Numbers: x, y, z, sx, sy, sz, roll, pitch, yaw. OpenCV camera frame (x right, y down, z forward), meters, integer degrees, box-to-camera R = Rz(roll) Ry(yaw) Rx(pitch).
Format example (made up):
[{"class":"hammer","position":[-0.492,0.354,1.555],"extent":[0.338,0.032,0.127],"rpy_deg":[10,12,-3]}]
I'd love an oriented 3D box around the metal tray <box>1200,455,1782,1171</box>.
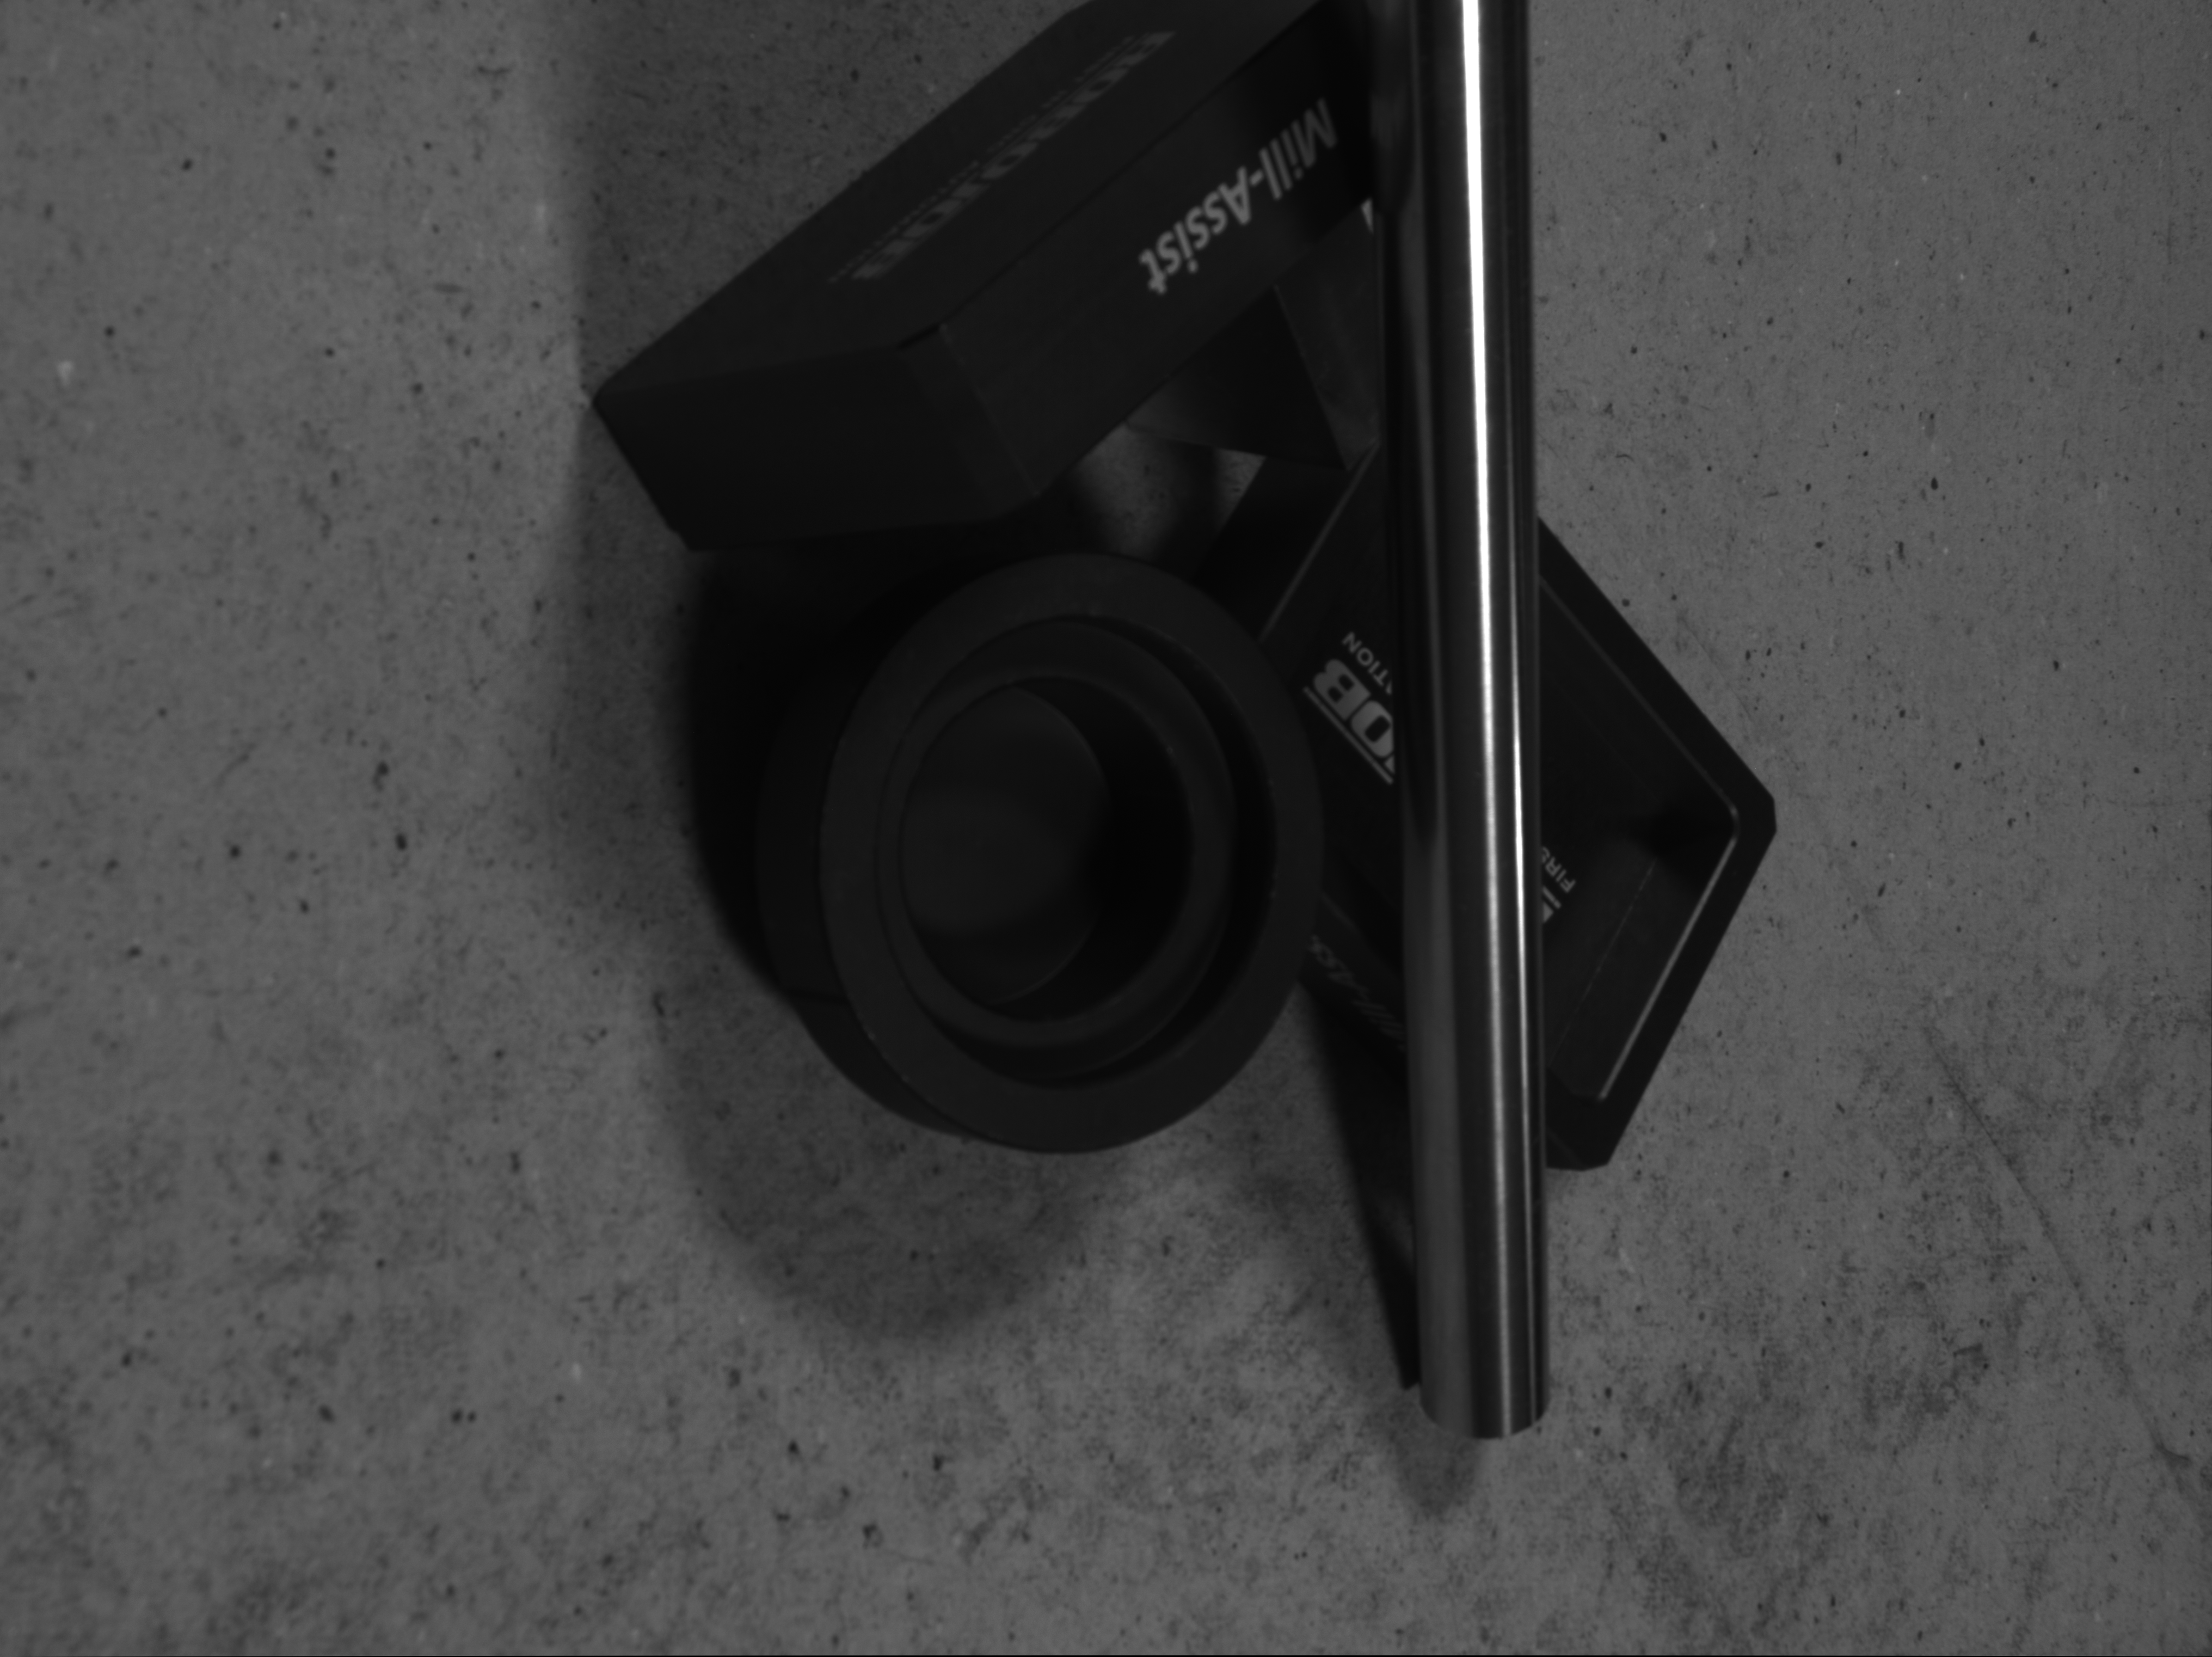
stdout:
[{"class":"metal tray","position":[0.067,-0.008,0.690],"extent":[0.130,0.030,0.090],"rpy_deg":[45,63,-30]}]

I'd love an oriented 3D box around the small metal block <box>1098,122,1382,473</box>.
[{"class":"small metal block","position":[0.022,-0.092,0.633],"extent":[0.025,0.050,0.050],"rpy_deg":[-49,133,-26]}]

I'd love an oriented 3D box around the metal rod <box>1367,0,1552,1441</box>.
[{"class":"metal rod","position":[0.061,-0.017,0.619],"extent":[0.025,0.025,0.300],"rpy_deg":[-32,132,-35]}]

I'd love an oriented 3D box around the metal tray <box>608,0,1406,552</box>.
[{"class":"metal tray","position":[-0.007,-0.096,0.588],"extent":[0.130,0.090,0.030],"rpy_deg":[-45,117,-31]}]

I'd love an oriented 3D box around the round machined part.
[{"class":"round machined part","position":[-0.014,0.003,0.610],"extent":[0.098,0.042,0.098],"rpy_deg":[-2,94,-34]}]
